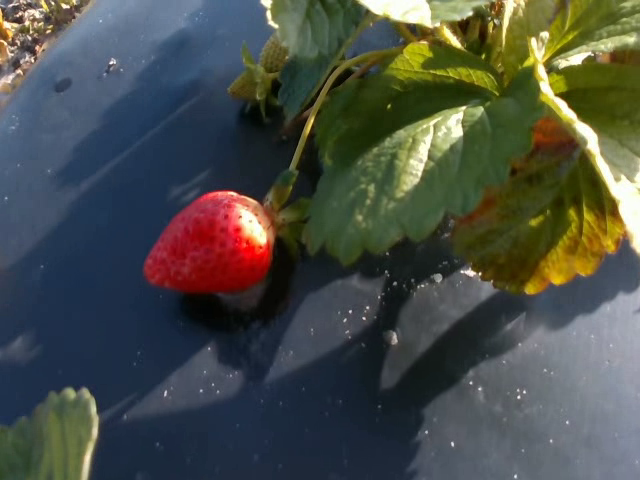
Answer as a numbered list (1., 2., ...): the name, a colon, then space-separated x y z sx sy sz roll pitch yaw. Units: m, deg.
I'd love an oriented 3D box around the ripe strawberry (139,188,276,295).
1. ripe strawberry: -0.032 0.004 0.171 0.045 0.033 0.030 -23 14 -7
